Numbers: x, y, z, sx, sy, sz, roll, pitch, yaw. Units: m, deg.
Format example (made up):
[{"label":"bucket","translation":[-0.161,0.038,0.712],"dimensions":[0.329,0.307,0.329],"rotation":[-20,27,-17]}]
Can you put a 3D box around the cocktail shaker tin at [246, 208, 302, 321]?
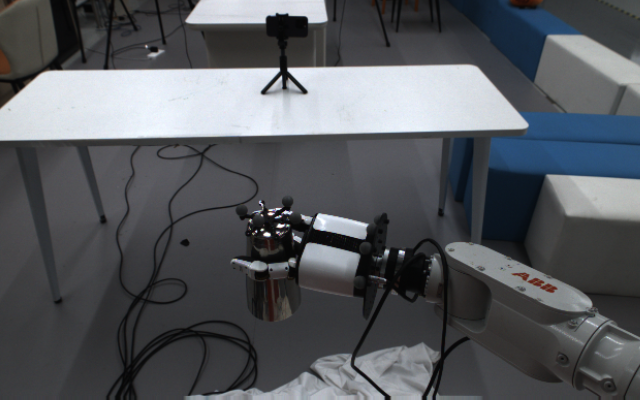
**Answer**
[{"label":"cocktail shaker tin","translation":[-0.073,0.098,0.764],"dimensions":[0.093,0.170,0.093],"rotation":[1,39,-1]}]
